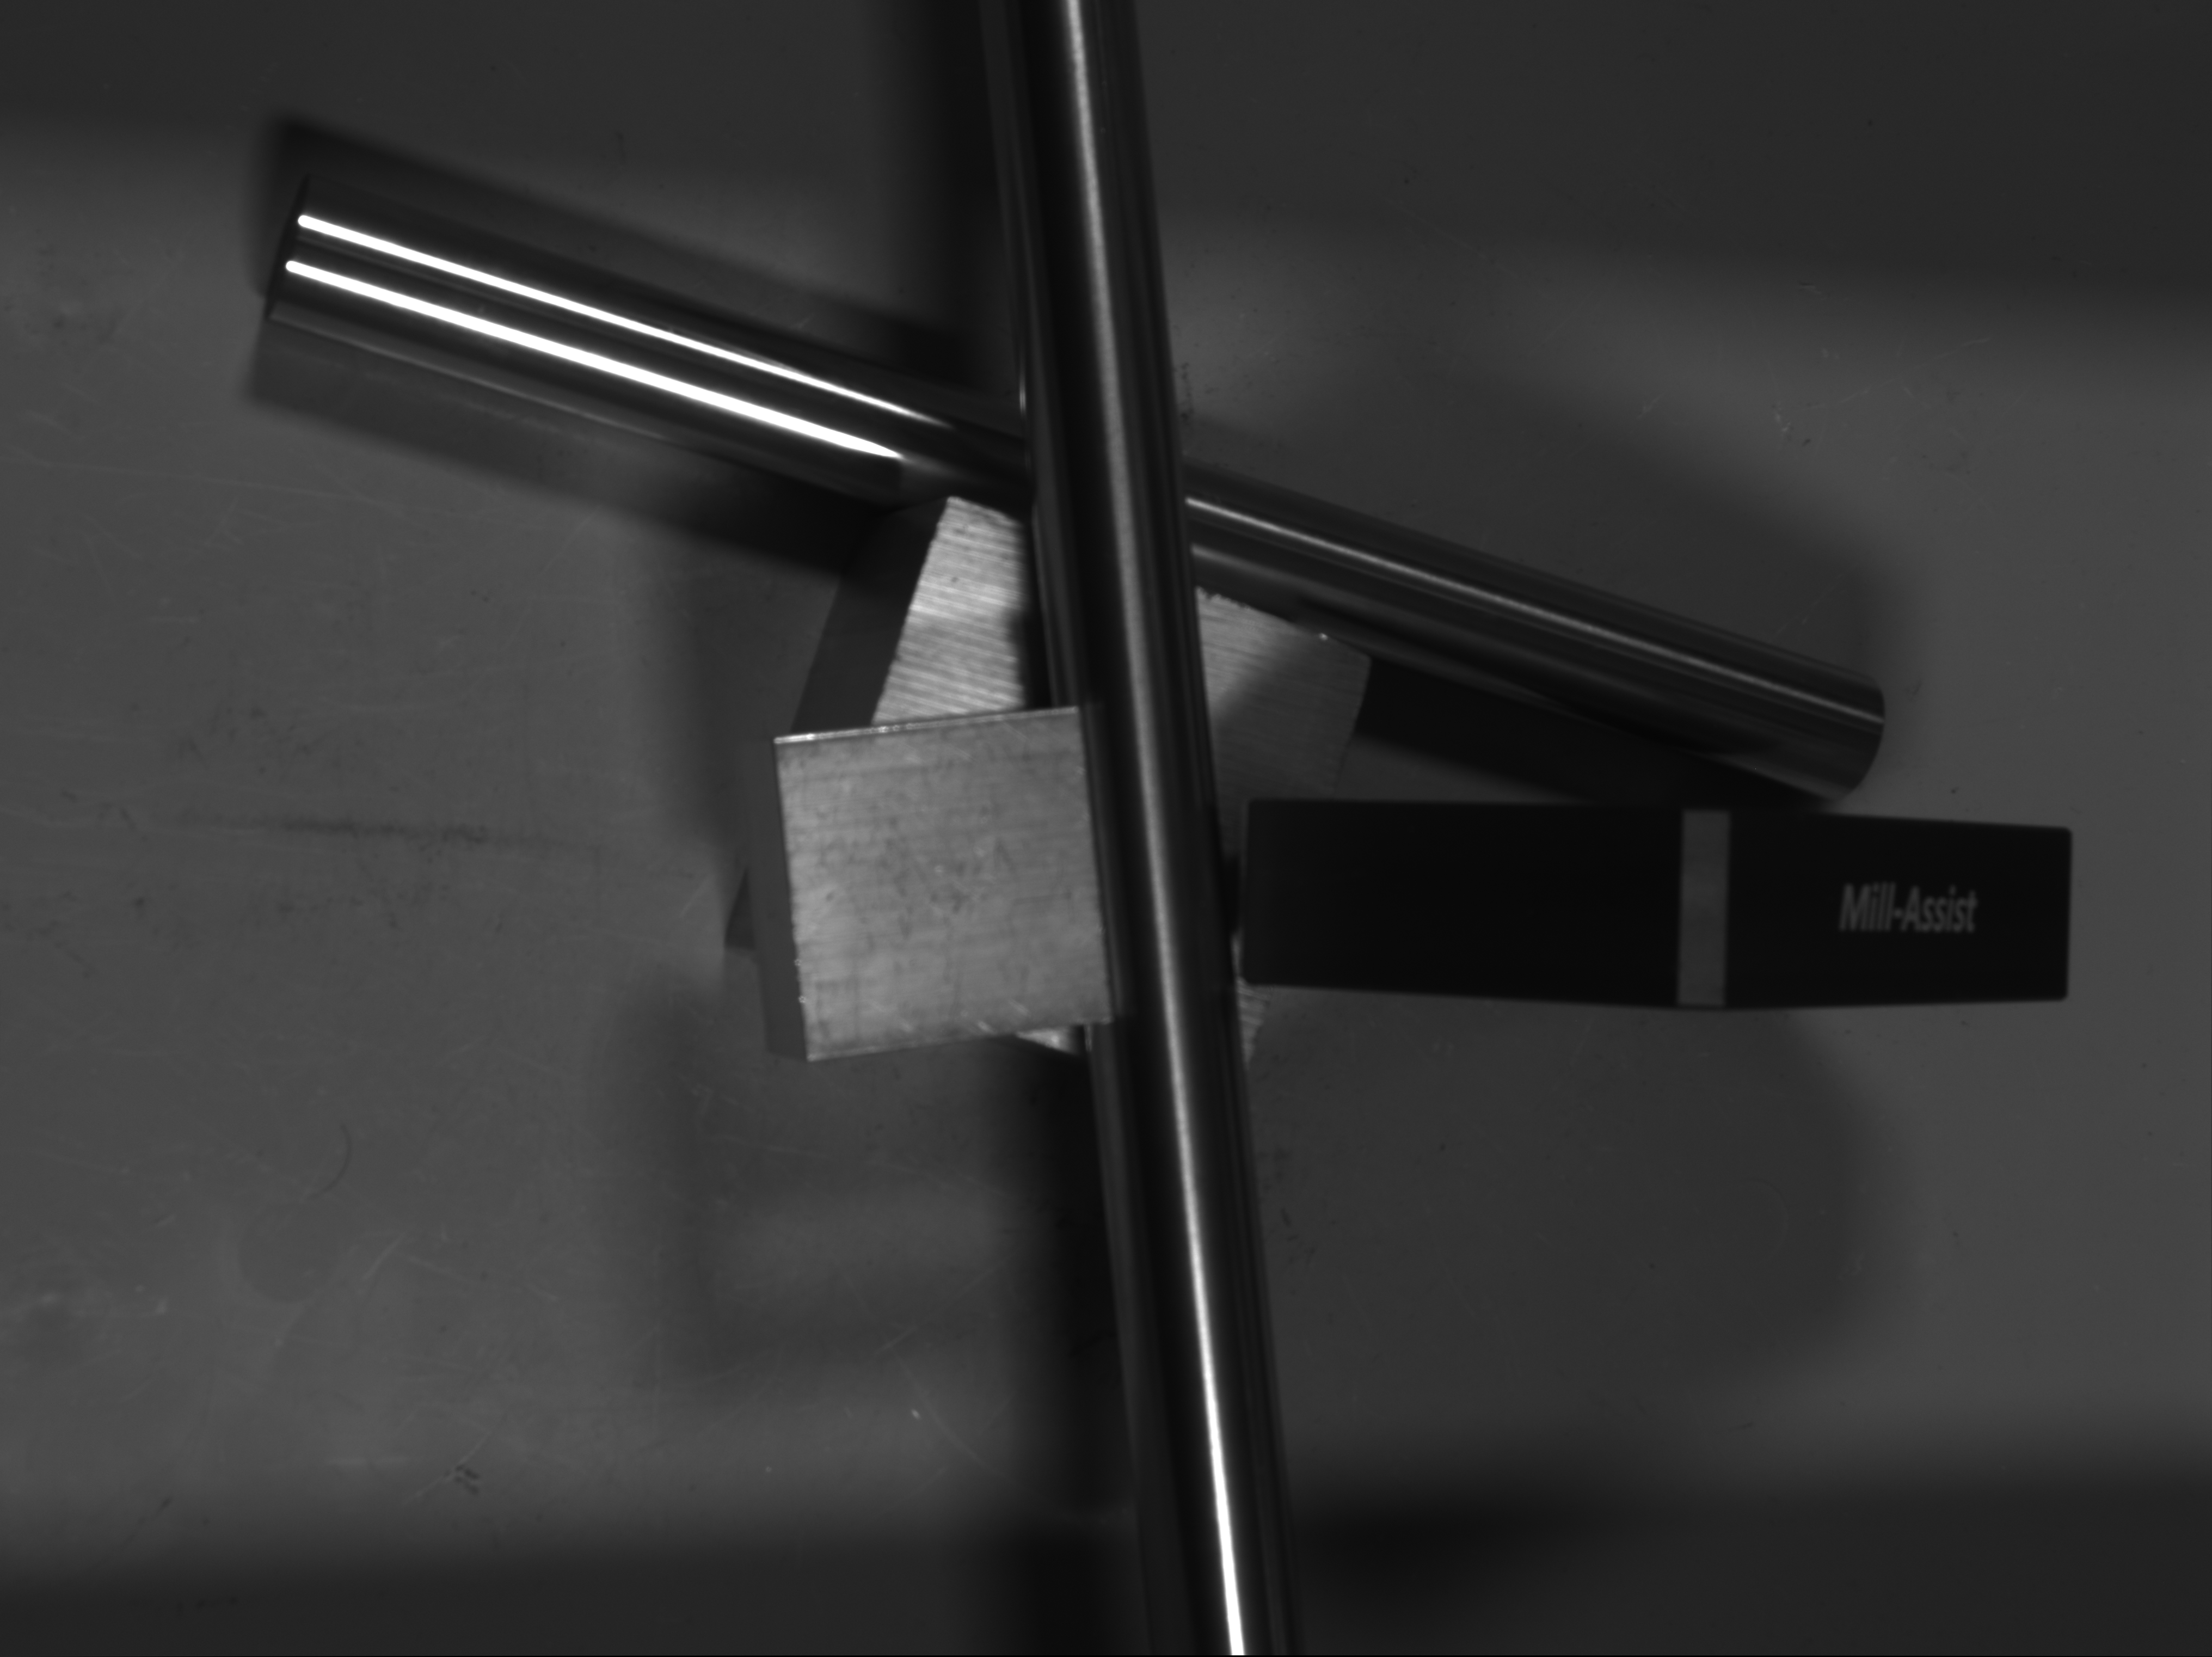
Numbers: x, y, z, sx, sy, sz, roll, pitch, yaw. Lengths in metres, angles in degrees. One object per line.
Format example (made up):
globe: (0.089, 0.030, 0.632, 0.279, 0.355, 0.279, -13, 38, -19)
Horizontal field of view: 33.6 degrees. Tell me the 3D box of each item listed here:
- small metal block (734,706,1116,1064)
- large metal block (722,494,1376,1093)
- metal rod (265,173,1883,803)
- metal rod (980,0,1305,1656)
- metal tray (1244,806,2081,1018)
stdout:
small metal block: (-0.029, 0.008, 0.579, 0.050, 0.025, 0.050, -7, 92, -20)
large metal block: (-0.010, -0.004, 0.626, 0.080, 0.050, 0.080, 19, 84, -19)
metal rod: (0.003, -0.056, 0.644, 0.301, 0.025, 0.025, 16, 85, -19)
metal rod: (0.006, -0.002, 0.591, 0.025, 0.025, 0.300, -7, 92, -20)
metal tray: (0.095, 0.013, 0.614, 0.130, 0.090, 0.030, 1, 90, -51)
